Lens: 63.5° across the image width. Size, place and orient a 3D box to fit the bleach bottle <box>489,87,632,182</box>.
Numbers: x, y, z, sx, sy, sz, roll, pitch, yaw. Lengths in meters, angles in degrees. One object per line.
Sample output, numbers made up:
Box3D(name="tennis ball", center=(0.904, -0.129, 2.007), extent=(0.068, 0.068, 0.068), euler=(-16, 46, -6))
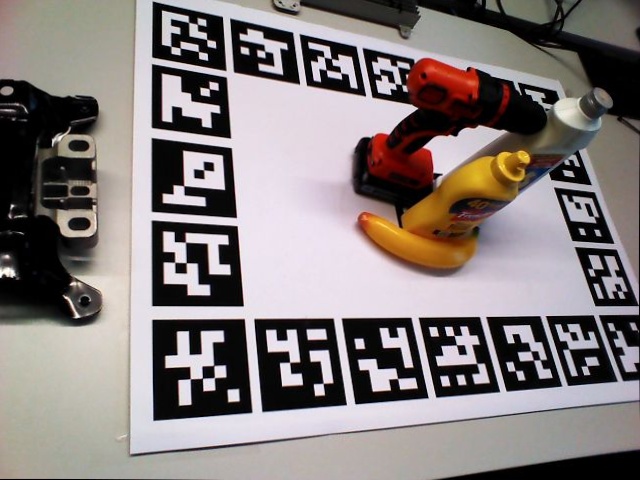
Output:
Box3D(name="bleach bottle", center=(0.287, -0.105, 0.685), extent=(0.102, 0.252, 0.067), euler=(6, 60, -23))

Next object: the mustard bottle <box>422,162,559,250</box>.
Box3D(name="mustard bottle", center=(0.220, -0.046, 0.655), extent=(0.096, 0.193, 0.058), euler=(4, 66, -25))

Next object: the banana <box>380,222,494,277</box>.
Box3D(name="banana", center=(0.171, 0.013, 0.708), extent=(0.197, 0.039, 0.074), euler=(7, 66, -20))

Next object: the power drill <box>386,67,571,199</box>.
Box3D(name="power drill", center=(0.183, -0.121, 0.648), extent=(0.184, 0.188, 0.057), euler=(15, 61, -20))
